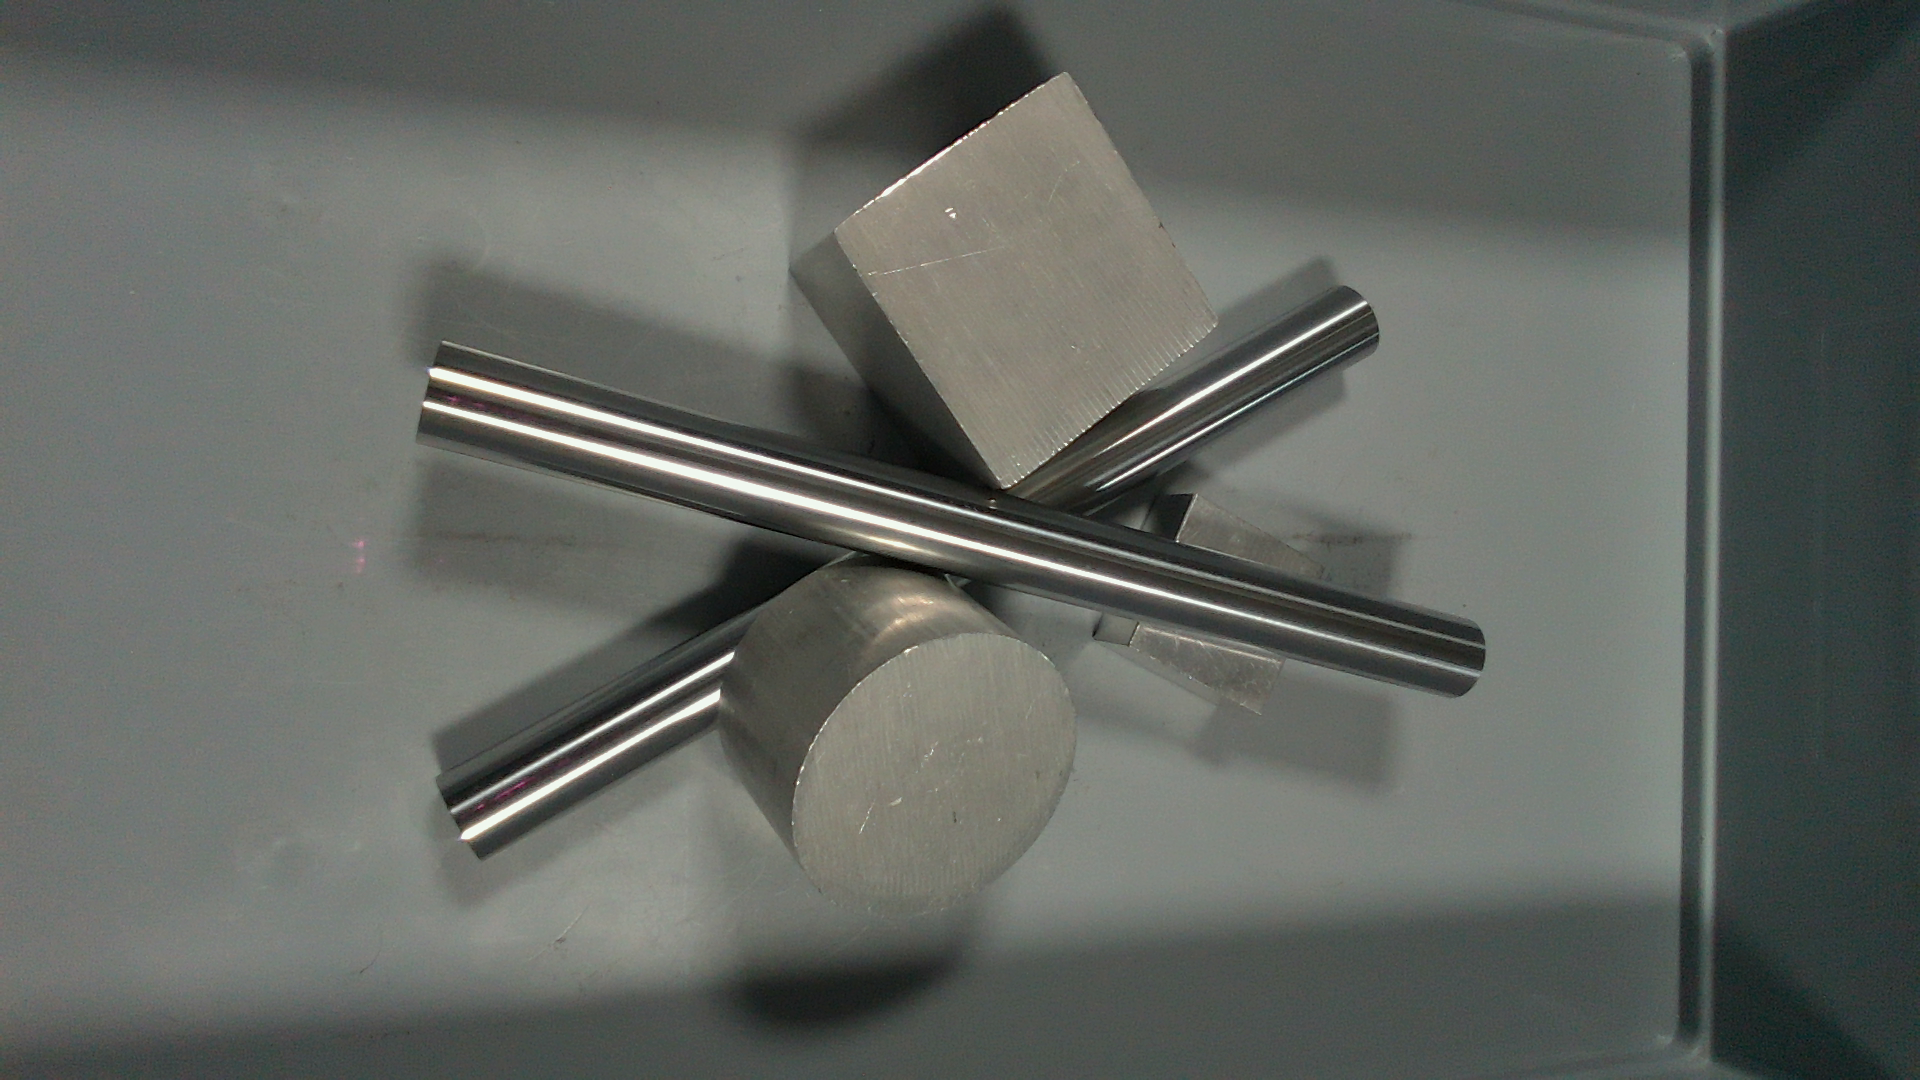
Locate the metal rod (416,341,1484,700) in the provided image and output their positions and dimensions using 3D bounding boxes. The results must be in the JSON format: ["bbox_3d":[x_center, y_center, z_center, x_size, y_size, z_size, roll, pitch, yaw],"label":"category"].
[{"bbox_3d":[0.014,0.001,0.371,0.301,0.025,0.025,14,85,-19],"label":"metal rod"}]

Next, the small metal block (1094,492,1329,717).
[{"bbox_3d":[0.076,0.019,0.418,0.050,0.025,0.050,28,81,-18],"label":"small metal block"}]

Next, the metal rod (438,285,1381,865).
[{"bbox_3d":[0.000,0.001,0.392,0.301,0.025,0.025,-29,100,-18],"label":"metal rod"}]

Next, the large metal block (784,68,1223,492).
[{"bbox_3d":[0.011,-0.068,0.382,0.080,0.050,0.080,-38,102,-16],"label":"large metal block"}]

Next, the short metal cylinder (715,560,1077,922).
[{"bbox_3d":[-0.017,0.051,0.358,0.080,0.050,0.080,-14,118,-27],"label":"short metal cylinder"}]
